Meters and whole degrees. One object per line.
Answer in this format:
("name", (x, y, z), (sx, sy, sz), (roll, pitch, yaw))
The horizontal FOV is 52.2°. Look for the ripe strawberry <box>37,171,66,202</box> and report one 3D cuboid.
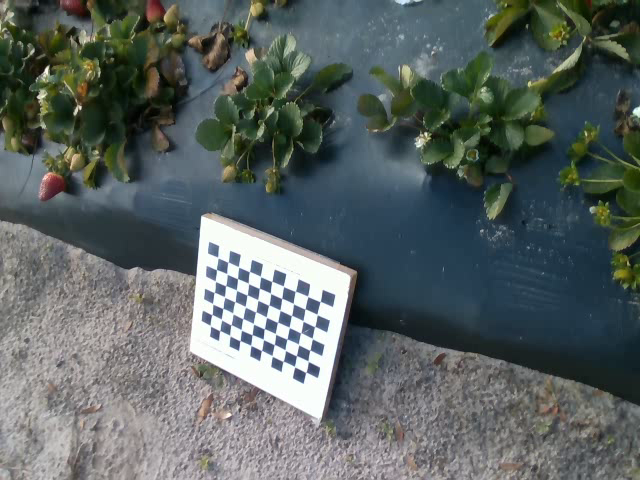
("ripe strawberry", (-0.575, -0.114, 1.369), (0.052, 0.068, 0.045), (17, -18, 27))
